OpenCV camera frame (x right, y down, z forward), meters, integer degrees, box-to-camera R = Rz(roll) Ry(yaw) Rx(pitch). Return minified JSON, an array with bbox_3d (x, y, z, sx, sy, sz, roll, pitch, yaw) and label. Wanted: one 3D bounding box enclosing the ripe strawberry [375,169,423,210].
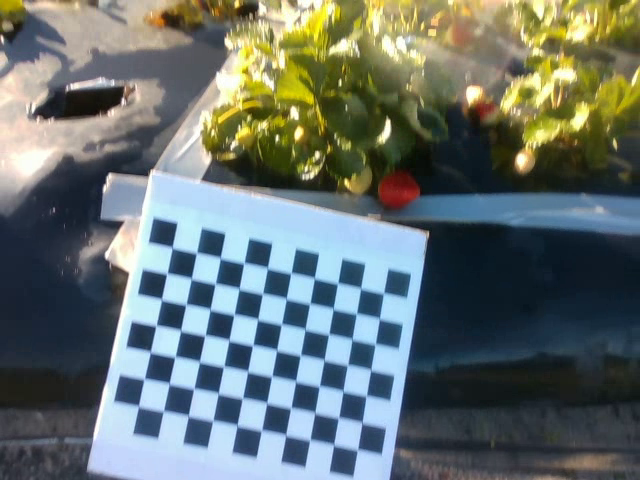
[{"bbox_3d":[0.089,-0.056,0.611,0.048,0.045,0.063,36,-2,-32],"label":"ripe strawberry"}]
